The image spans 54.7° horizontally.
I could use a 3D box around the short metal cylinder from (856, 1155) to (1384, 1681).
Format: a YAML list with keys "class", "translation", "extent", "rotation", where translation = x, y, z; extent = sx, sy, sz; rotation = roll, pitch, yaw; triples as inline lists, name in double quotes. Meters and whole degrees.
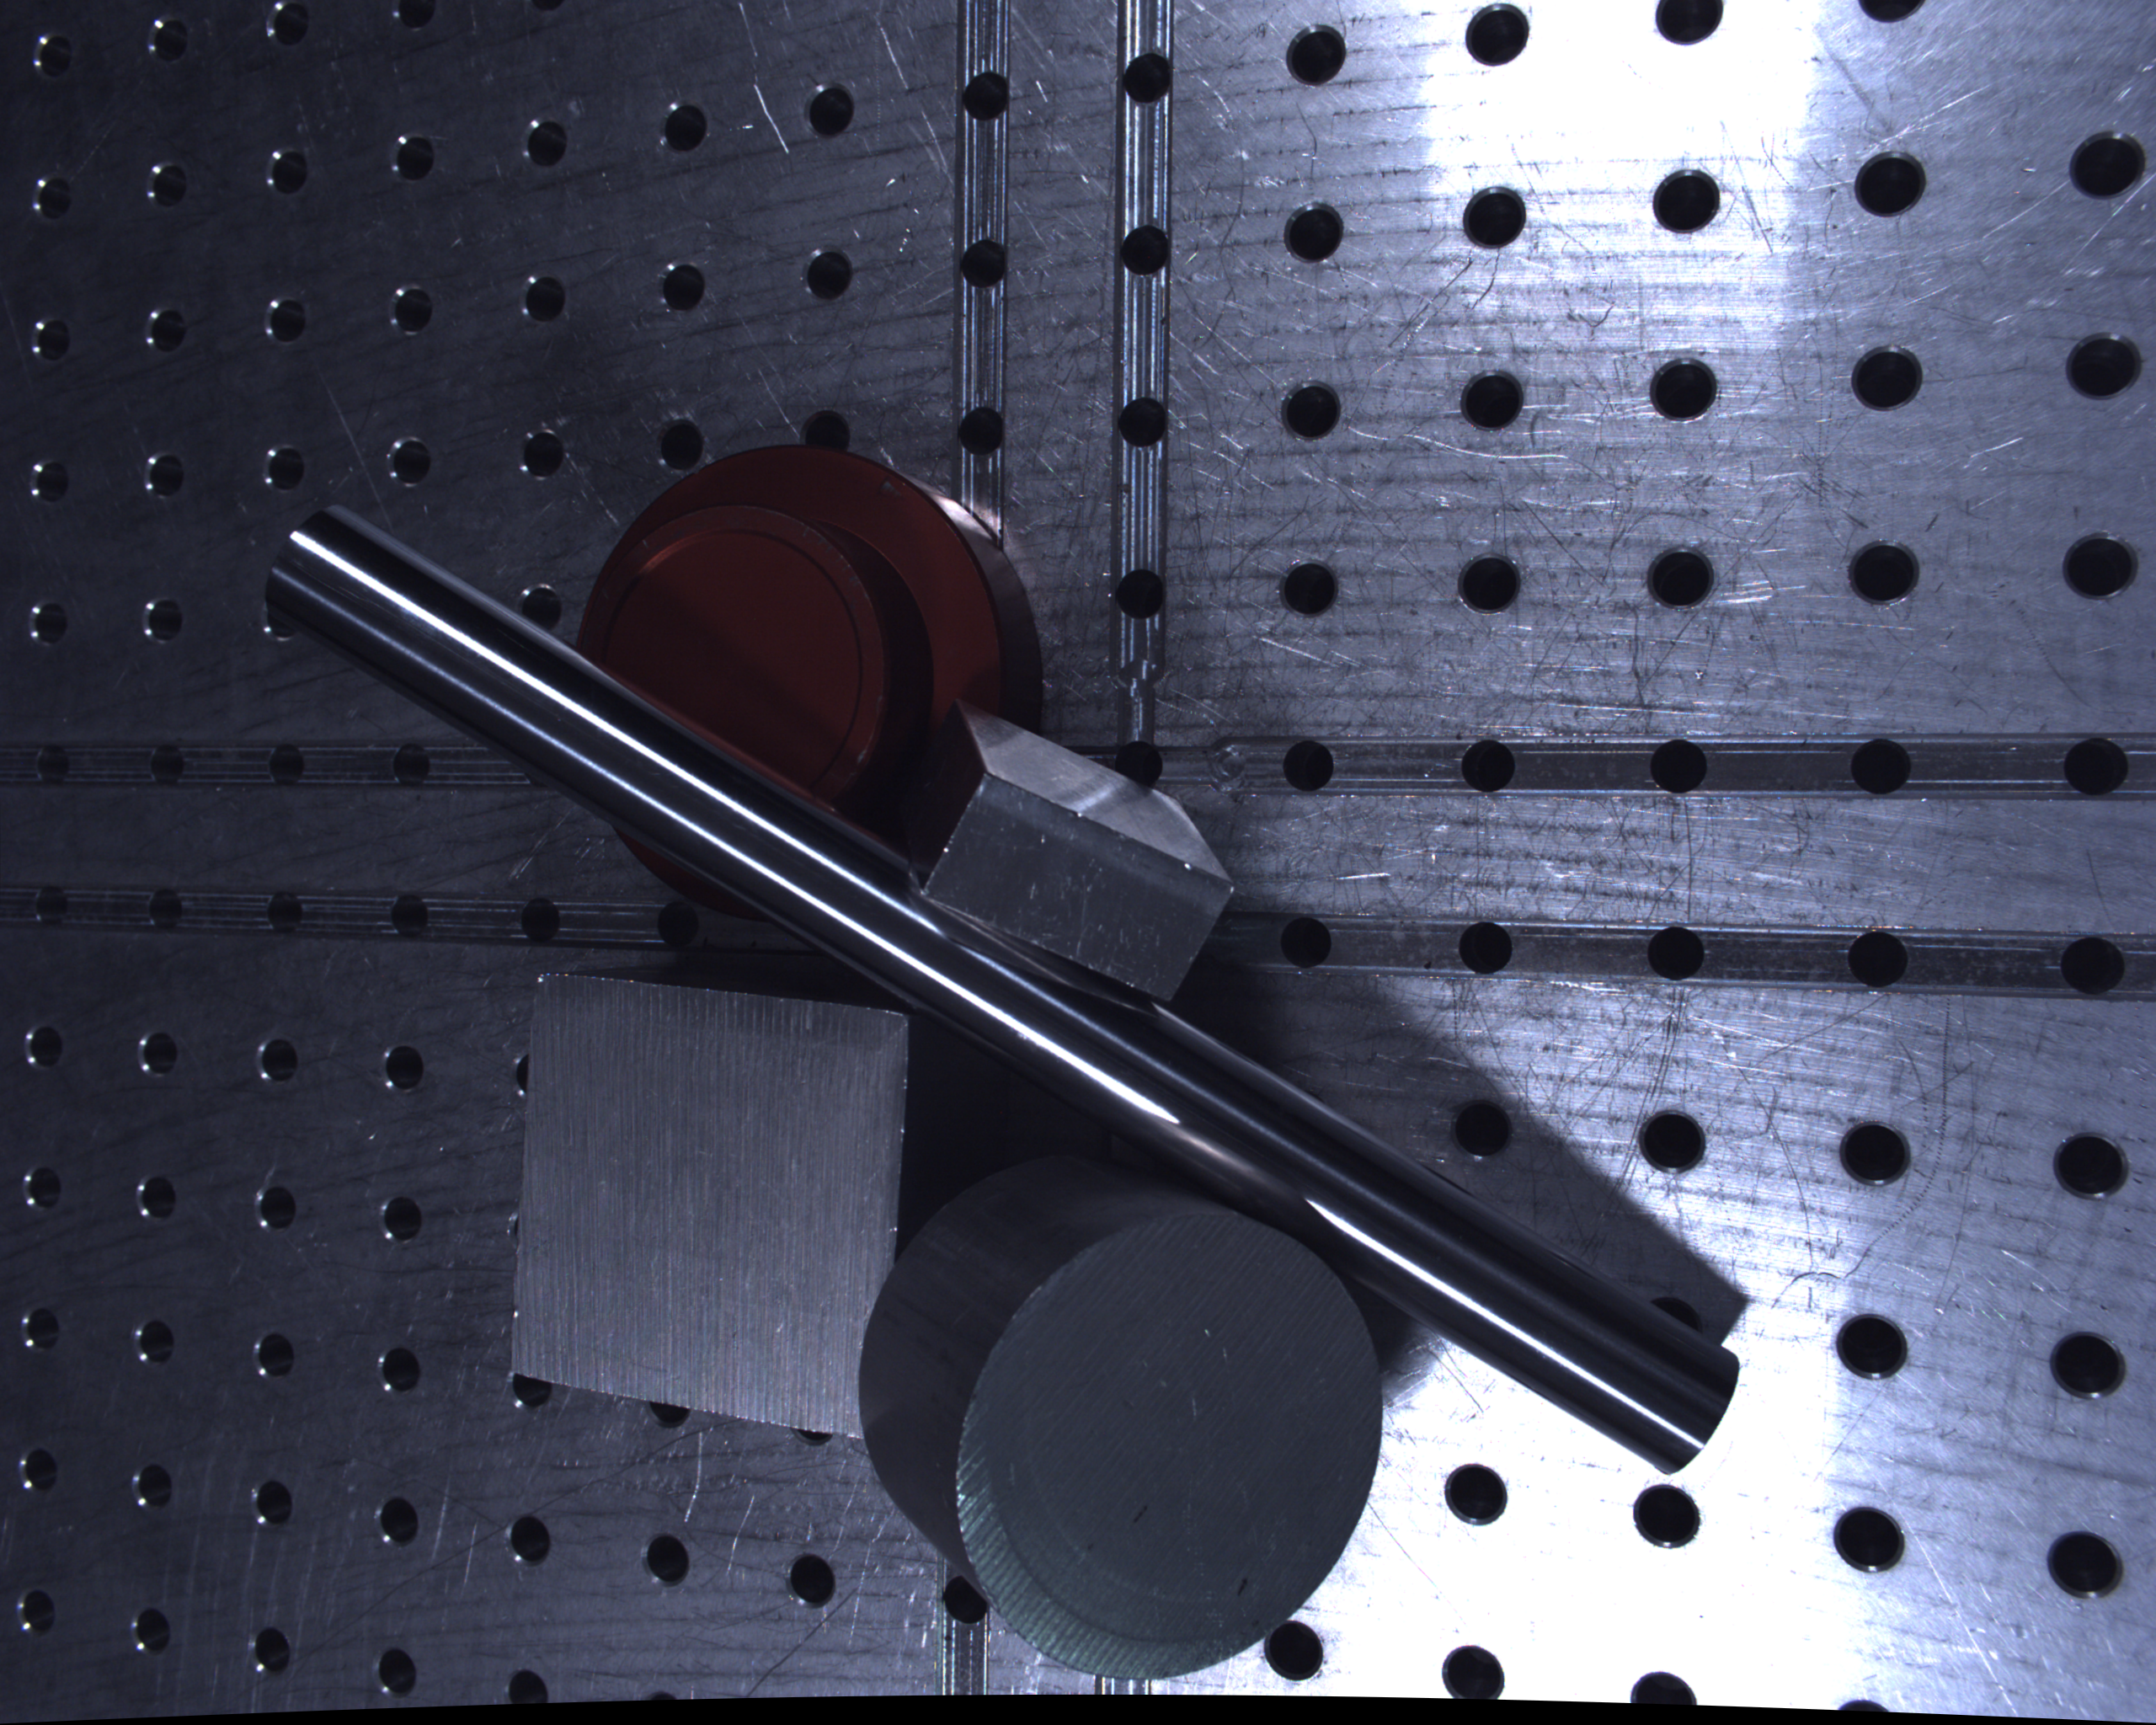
- class: "short metal cylinder"
  translation: [0.007, 0.097, 0.373]
  extent: [0.081, 0.050, 0.079]
  rotation: [-2, 94, -25]

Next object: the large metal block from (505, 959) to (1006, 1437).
- class: "large metal block"
  translation: [-0.063, 0.063, 0.418]
  extent: [0.080, 0.050, 0.079]
  rotation: [5, 92, 19]

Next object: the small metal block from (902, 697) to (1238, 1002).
- class: "small metal block"
  translation: [-0.003, -0.003, 0.389]
  extent: [0.050, 0.050, 0.025]
  rotation: [24, 103, -17]

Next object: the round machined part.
- class: "round machined part"
  translation: [-0.061, -0.036, 0.424]
  extent: [0.098, 0.042, 0.097]
  rotation: [0, 90, 19]

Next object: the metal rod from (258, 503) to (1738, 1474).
- class: "metal rod"
  translation: [-0.017, 0.021, 0.383]
  extent: [0.301, 0.025, 0.025]
  rotation: [31, 100, 4]
